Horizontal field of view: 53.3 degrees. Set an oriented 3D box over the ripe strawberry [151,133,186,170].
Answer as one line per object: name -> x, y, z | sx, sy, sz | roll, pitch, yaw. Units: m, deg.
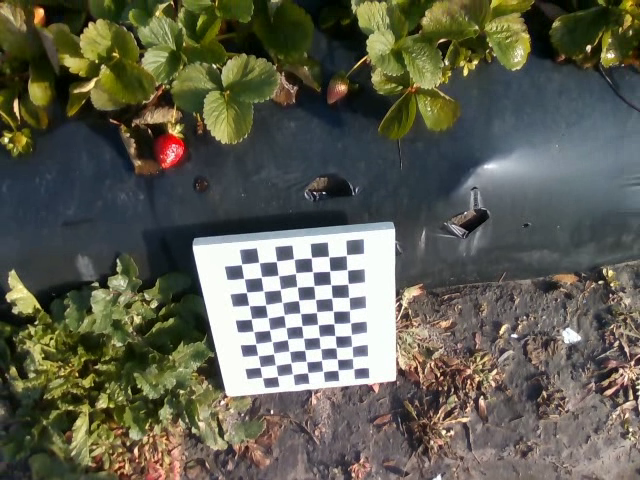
ripe strawberry -> -0.174, -0.093, 0.715 | 0.046, 0.054, 0.037 | 13, -16, -12
